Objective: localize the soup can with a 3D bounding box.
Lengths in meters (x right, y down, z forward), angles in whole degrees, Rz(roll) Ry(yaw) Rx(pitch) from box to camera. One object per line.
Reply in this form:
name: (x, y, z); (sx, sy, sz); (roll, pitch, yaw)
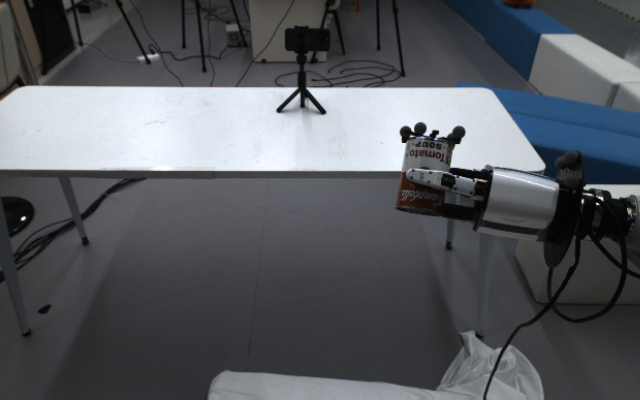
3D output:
soup can: (0.149, -0.035, 0.687); (0.067, 0.101, 0.067); (9, -5, 1)
